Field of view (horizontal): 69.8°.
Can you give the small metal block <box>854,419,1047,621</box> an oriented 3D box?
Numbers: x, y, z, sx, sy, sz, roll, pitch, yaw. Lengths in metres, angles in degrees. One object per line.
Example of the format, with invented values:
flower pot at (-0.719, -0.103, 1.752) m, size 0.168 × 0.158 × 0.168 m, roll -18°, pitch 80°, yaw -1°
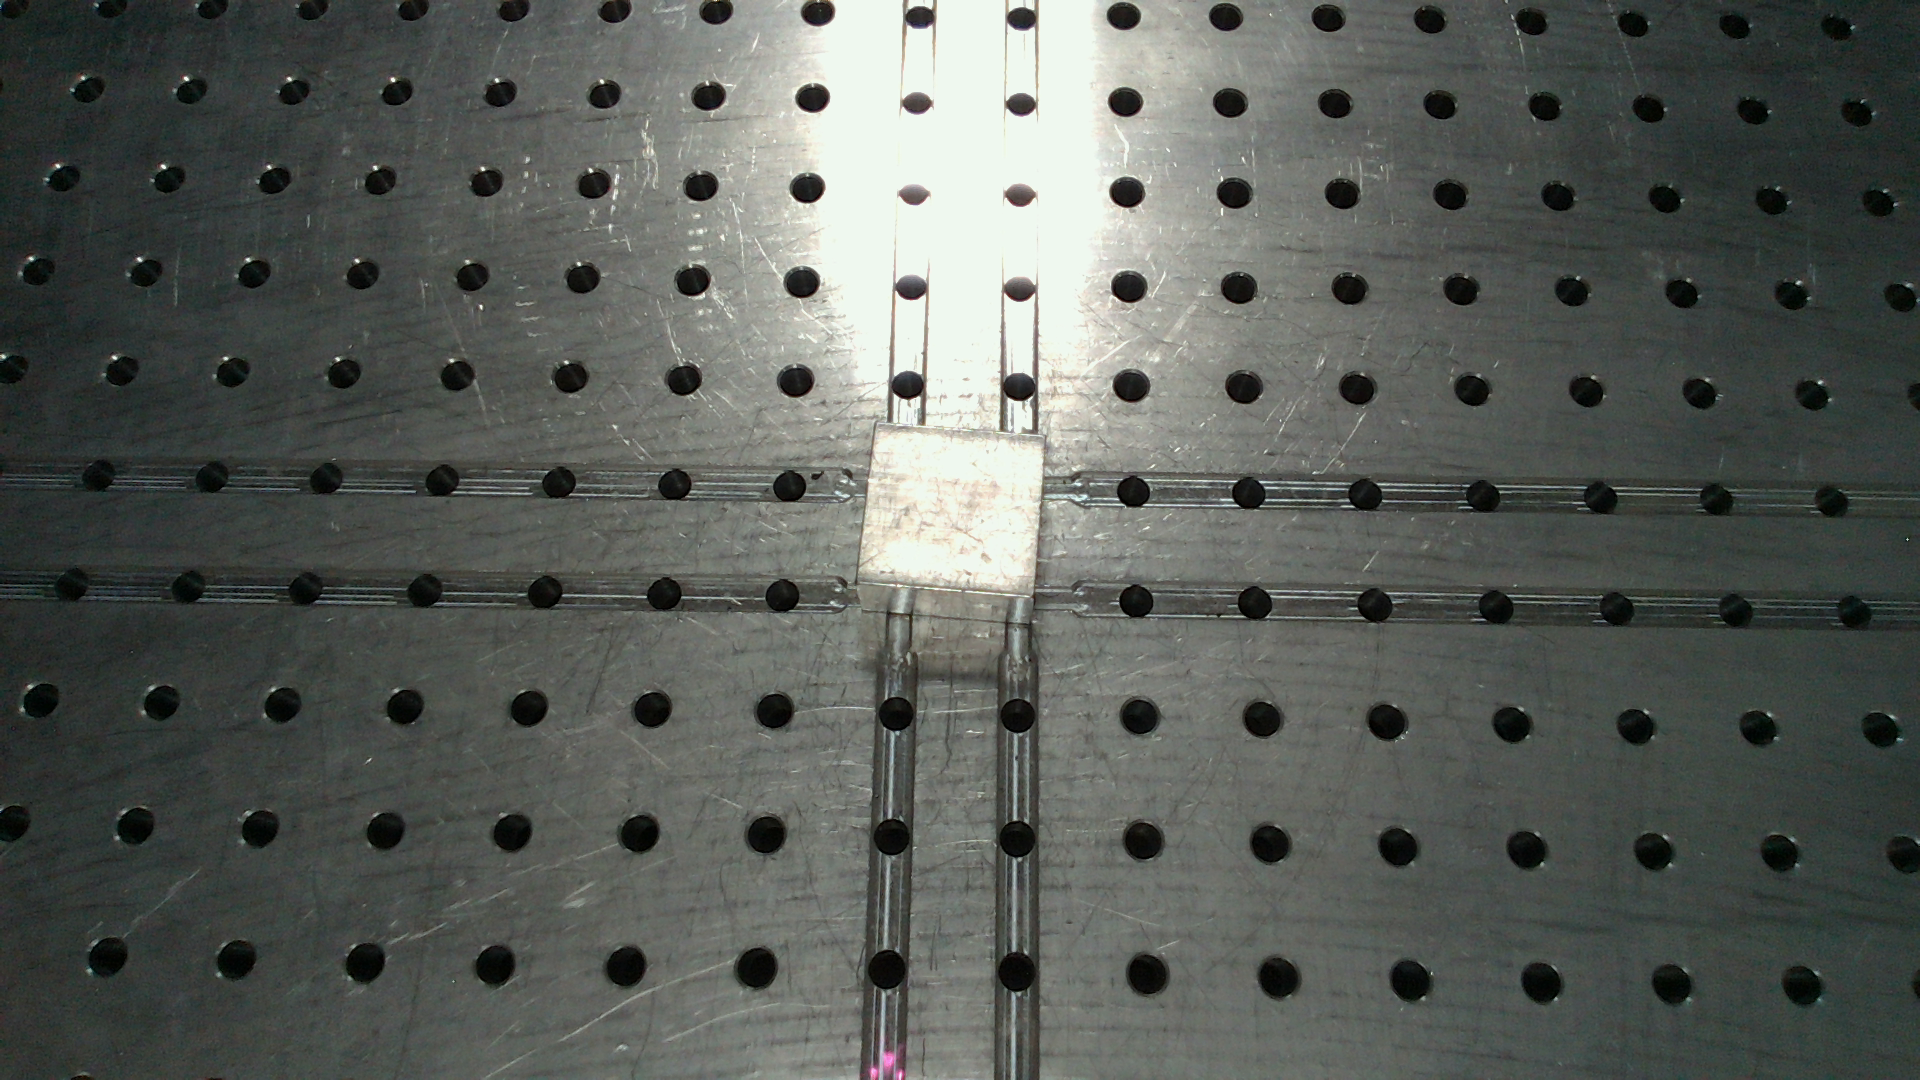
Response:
small metal block at (-0.002, -0.005, 0.399) m, size 0.050 × 0.025 × 0.050 m, roll 5°, pitch 70°, yaw 2°
